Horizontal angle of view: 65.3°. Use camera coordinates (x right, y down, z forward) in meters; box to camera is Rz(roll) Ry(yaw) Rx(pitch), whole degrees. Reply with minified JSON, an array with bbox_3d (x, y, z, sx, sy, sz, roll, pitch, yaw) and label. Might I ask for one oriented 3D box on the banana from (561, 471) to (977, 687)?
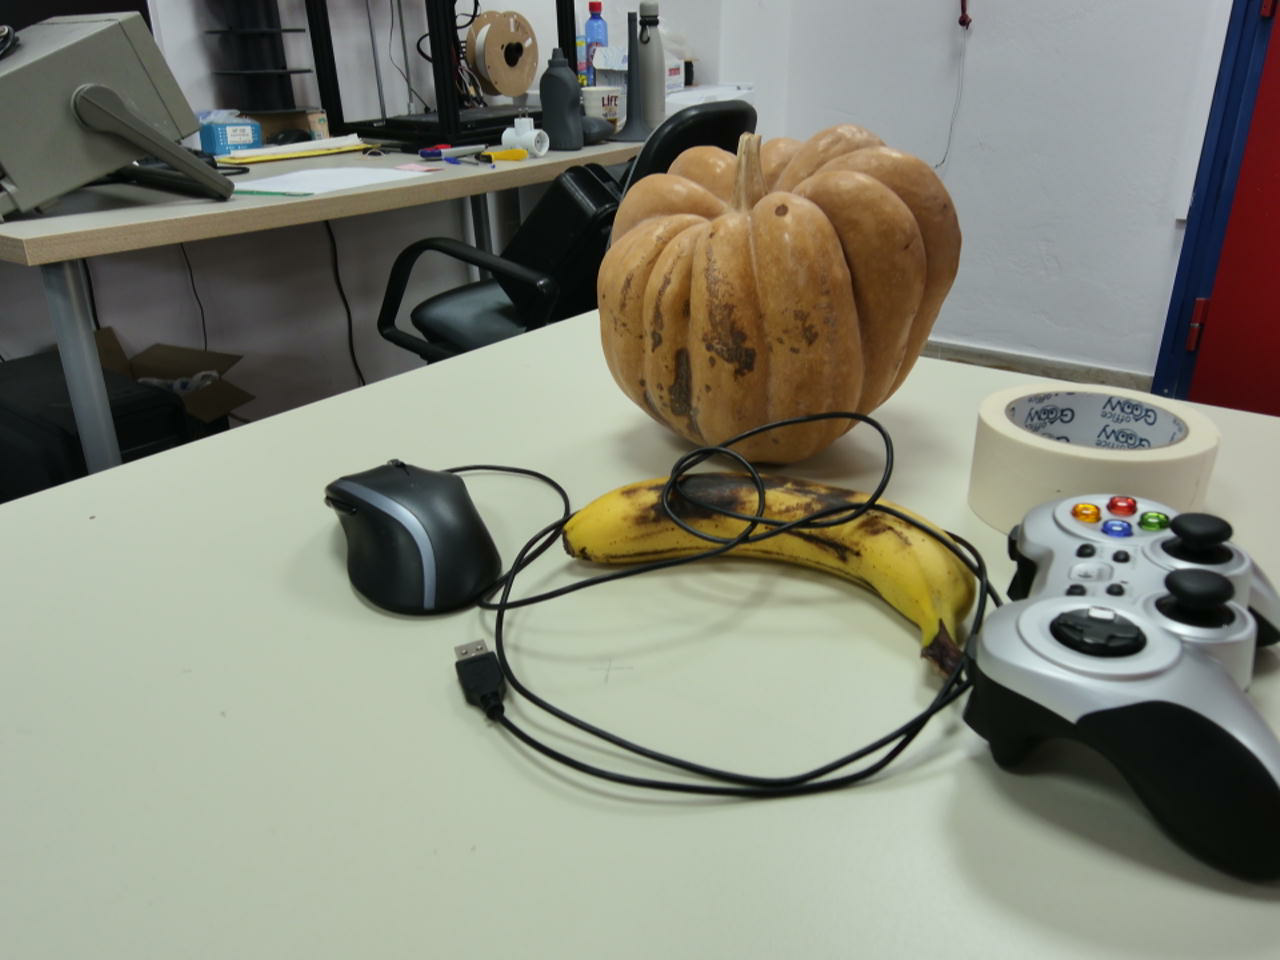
[{"bbox_3d":[0.063,0.029,0.432,0.187,0.039,0.094,16,27,34],"label":"banana"}]
